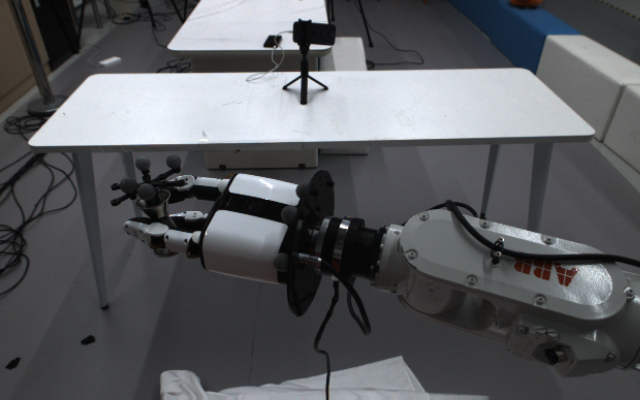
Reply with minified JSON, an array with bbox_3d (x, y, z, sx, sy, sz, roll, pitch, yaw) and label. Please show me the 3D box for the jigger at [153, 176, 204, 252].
[{"bbox_3d":[-0.180,0.025,0.567,0.043,0.071,0.043,-8,31,5],"label":"jigger"}]
